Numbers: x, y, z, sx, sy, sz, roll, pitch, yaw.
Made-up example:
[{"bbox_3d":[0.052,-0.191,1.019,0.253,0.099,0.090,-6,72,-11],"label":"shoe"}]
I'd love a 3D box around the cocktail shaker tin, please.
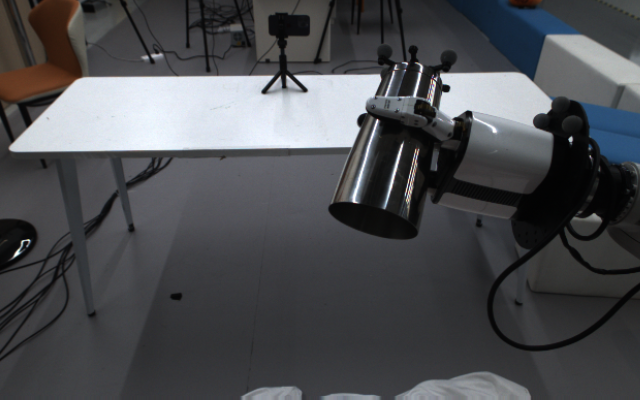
[{"bbox_3d":[0.077,-0.055,0.503,0.093,0.093,0.170,13,70,15],"label":"cocktail shaker tin"}]
